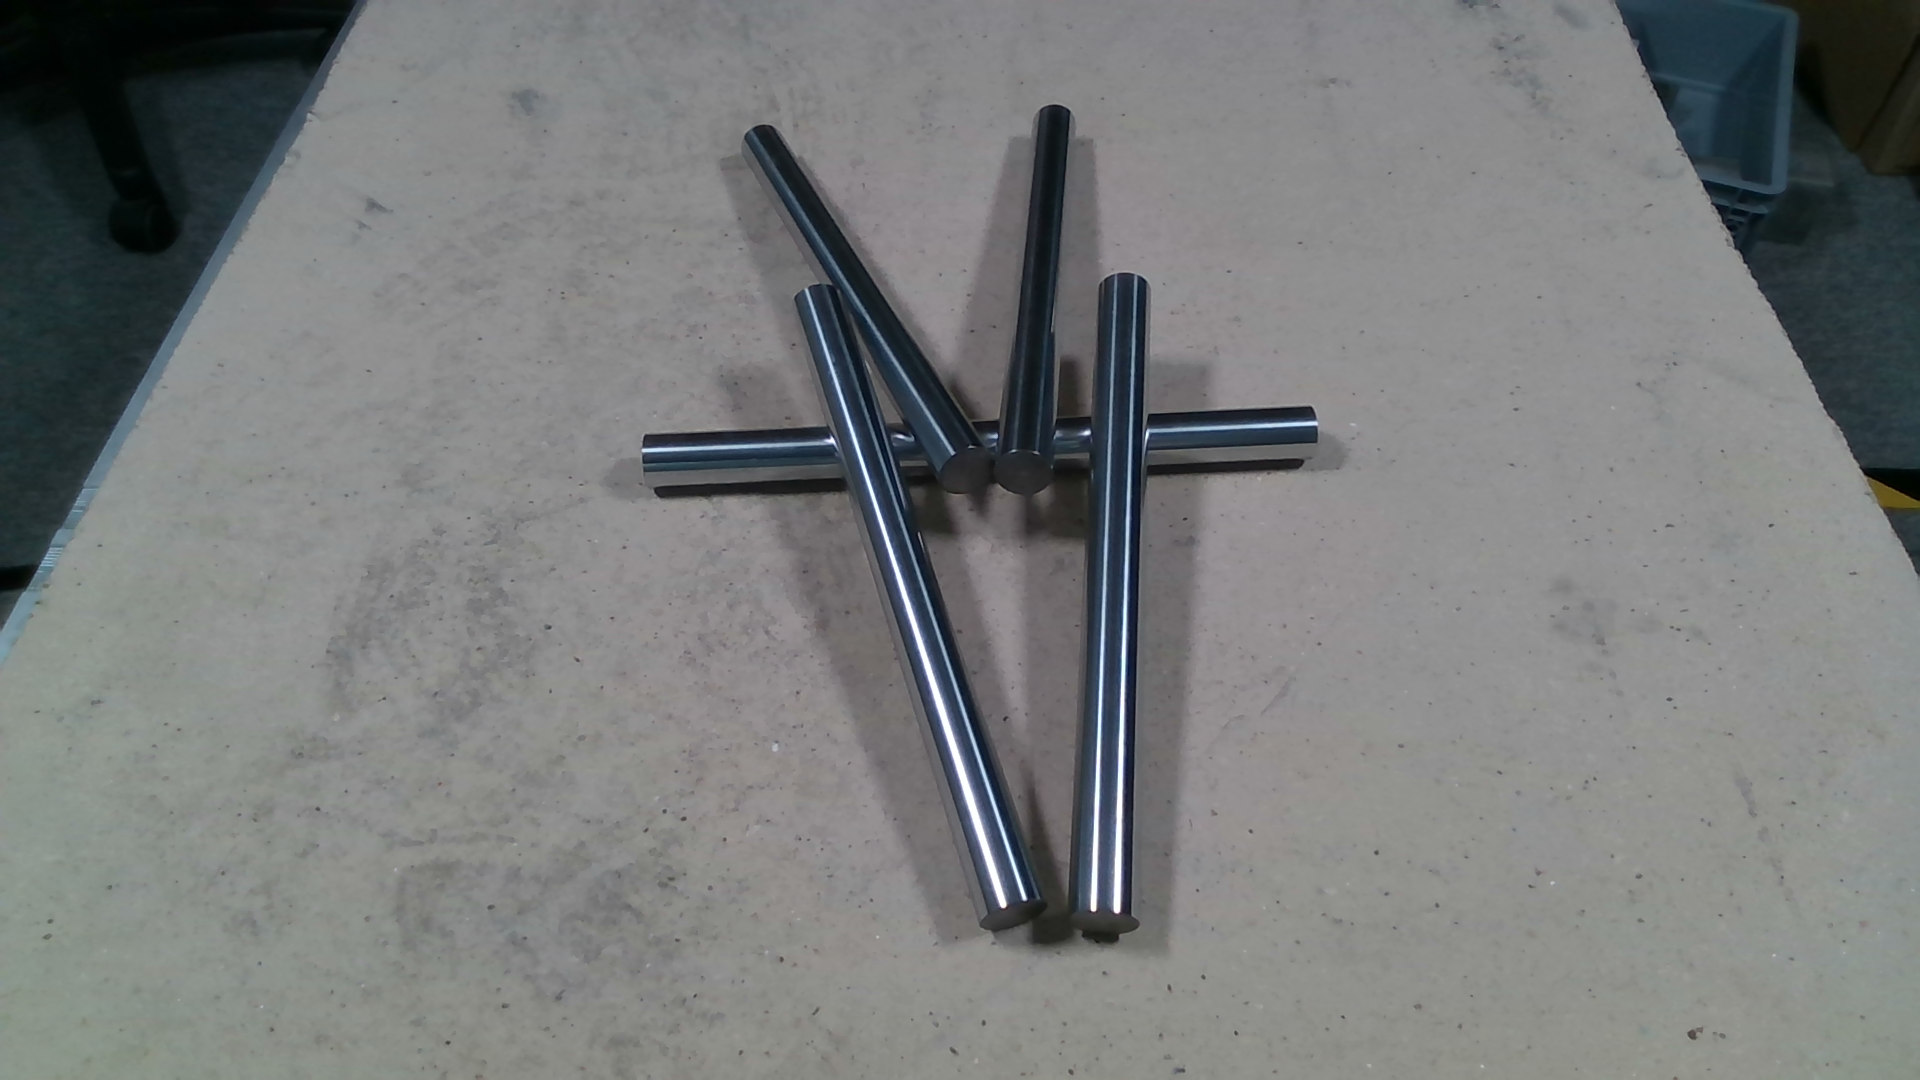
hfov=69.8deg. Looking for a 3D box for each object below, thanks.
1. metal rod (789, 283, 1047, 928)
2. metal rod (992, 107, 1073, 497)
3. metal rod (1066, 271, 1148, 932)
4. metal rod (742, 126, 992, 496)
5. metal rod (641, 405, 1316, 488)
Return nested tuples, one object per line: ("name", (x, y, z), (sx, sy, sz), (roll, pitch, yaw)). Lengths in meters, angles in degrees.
("metal rod", (-0.024, 0.010, 0.558), (0.025, 0.025, 0.299), (-13, 58, -11))
("metal rod", (0.039, -0.131, 0.678), (0.025, 0.025, 0.299), (4, 45, 3))
("metal rod", (0.063, 0.008, 0.559), (0.025, 0.025, 0.299), (4, 57, 3))
("metal rod", (-0.054, -0.124, 0.673), (0.025, 0.025, 0.299), (-18, 47, -14))
("metal rod", (0.009, -0.043, 0.623), (0.300, 0.025, 0.025), (-3, 50, -2))
